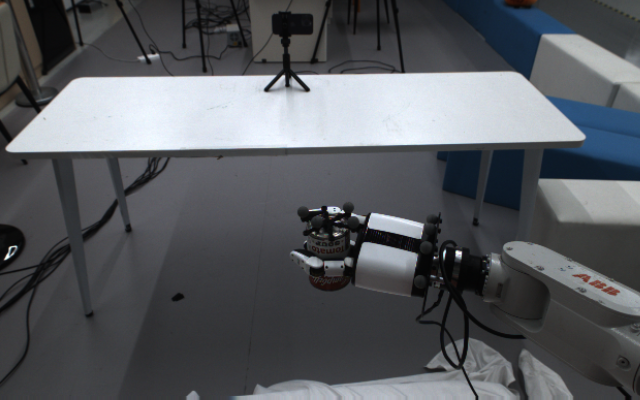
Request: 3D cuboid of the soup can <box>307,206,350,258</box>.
[{"bbox_3d":[0.015,0.080,0.745,0.067,0.101,0.067,-2,33,1],"label":"soup can"}]
